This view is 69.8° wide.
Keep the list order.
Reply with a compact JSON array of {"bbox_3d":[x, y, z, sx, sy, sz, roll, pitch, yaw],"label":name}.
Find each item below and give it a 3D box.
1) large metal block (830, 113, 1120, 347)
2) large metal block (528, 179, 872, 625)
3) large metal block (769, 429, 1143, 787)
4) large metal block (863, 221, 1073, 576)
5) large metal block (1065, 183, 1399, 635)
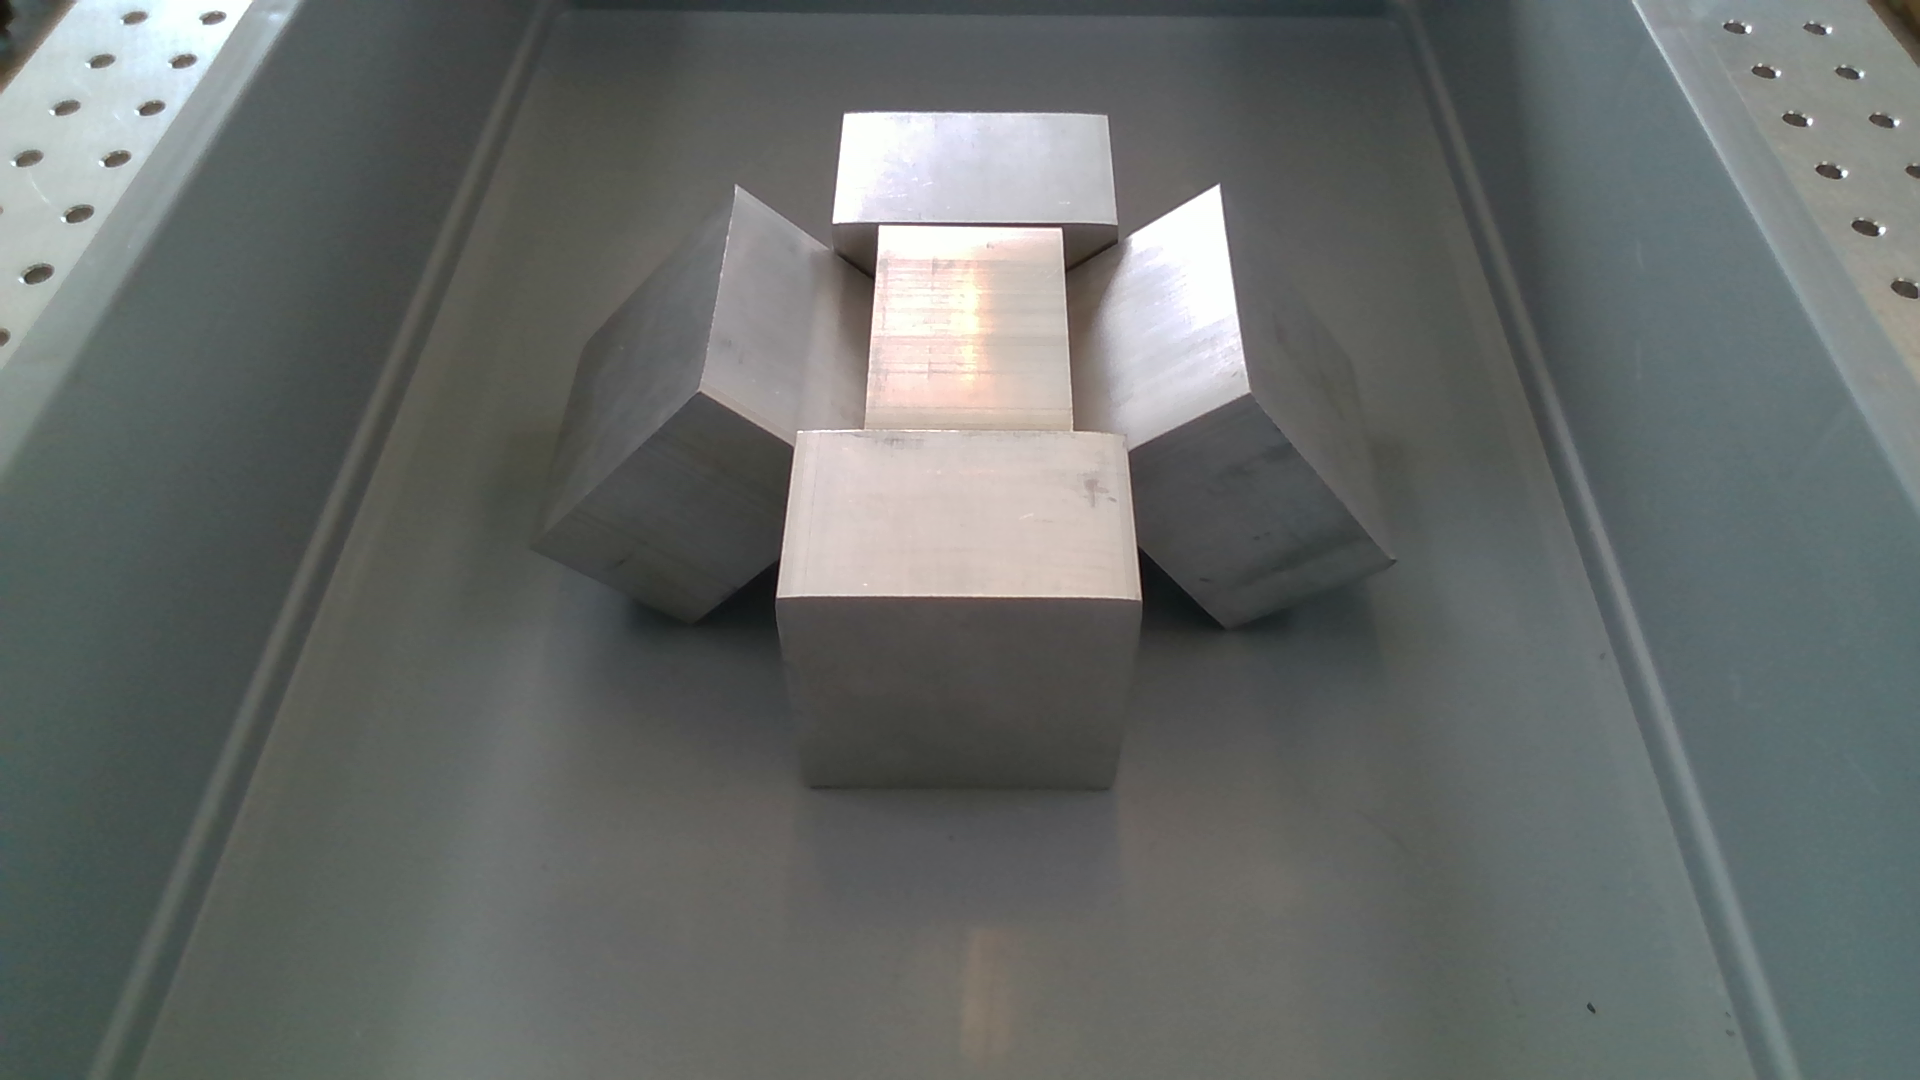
[{"bbox_3d":[0.004,-0.082,0.426,0.080,0.080,0.050,0,50,0],"label":"large metal block"},{"bbox_3d":[-0.068,-0.036,0.378,0.050,0.080,0.080,30,43,-31],"label":"large metal block"},{"bbox_3d":[-0.001,0.019,0.341,0.080,0.080,0.050,0,50,0],"label":"large metal block"},{"bbox_3d":[0.002,-0.031,0.383,0.050,0.080,0.080,0,50,0],"label":"large metal block"},{"bbox_3d":[0.073,-0.034,0.377,0.050,0.080,0.080,-25,43,29],"label":"large metal block"}]
